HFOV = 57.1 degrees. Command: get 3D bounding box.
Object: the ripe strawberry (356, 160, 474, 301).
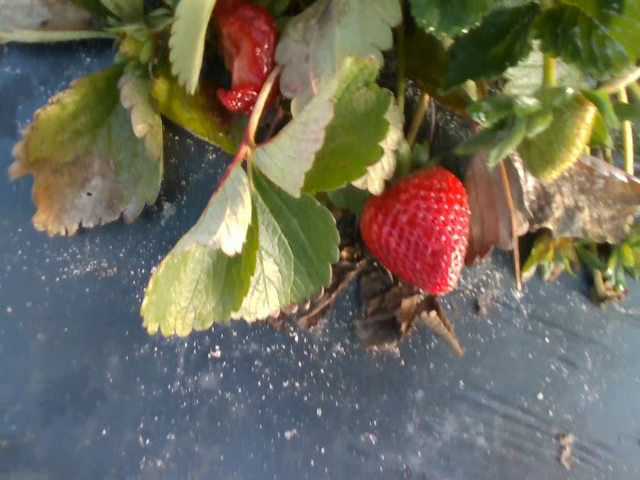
[{"bbox_3d":[0.023,0.000,0.138,0.031,0.030,0.026,-17,-13,2],"label":"ripe strawberry"}]
